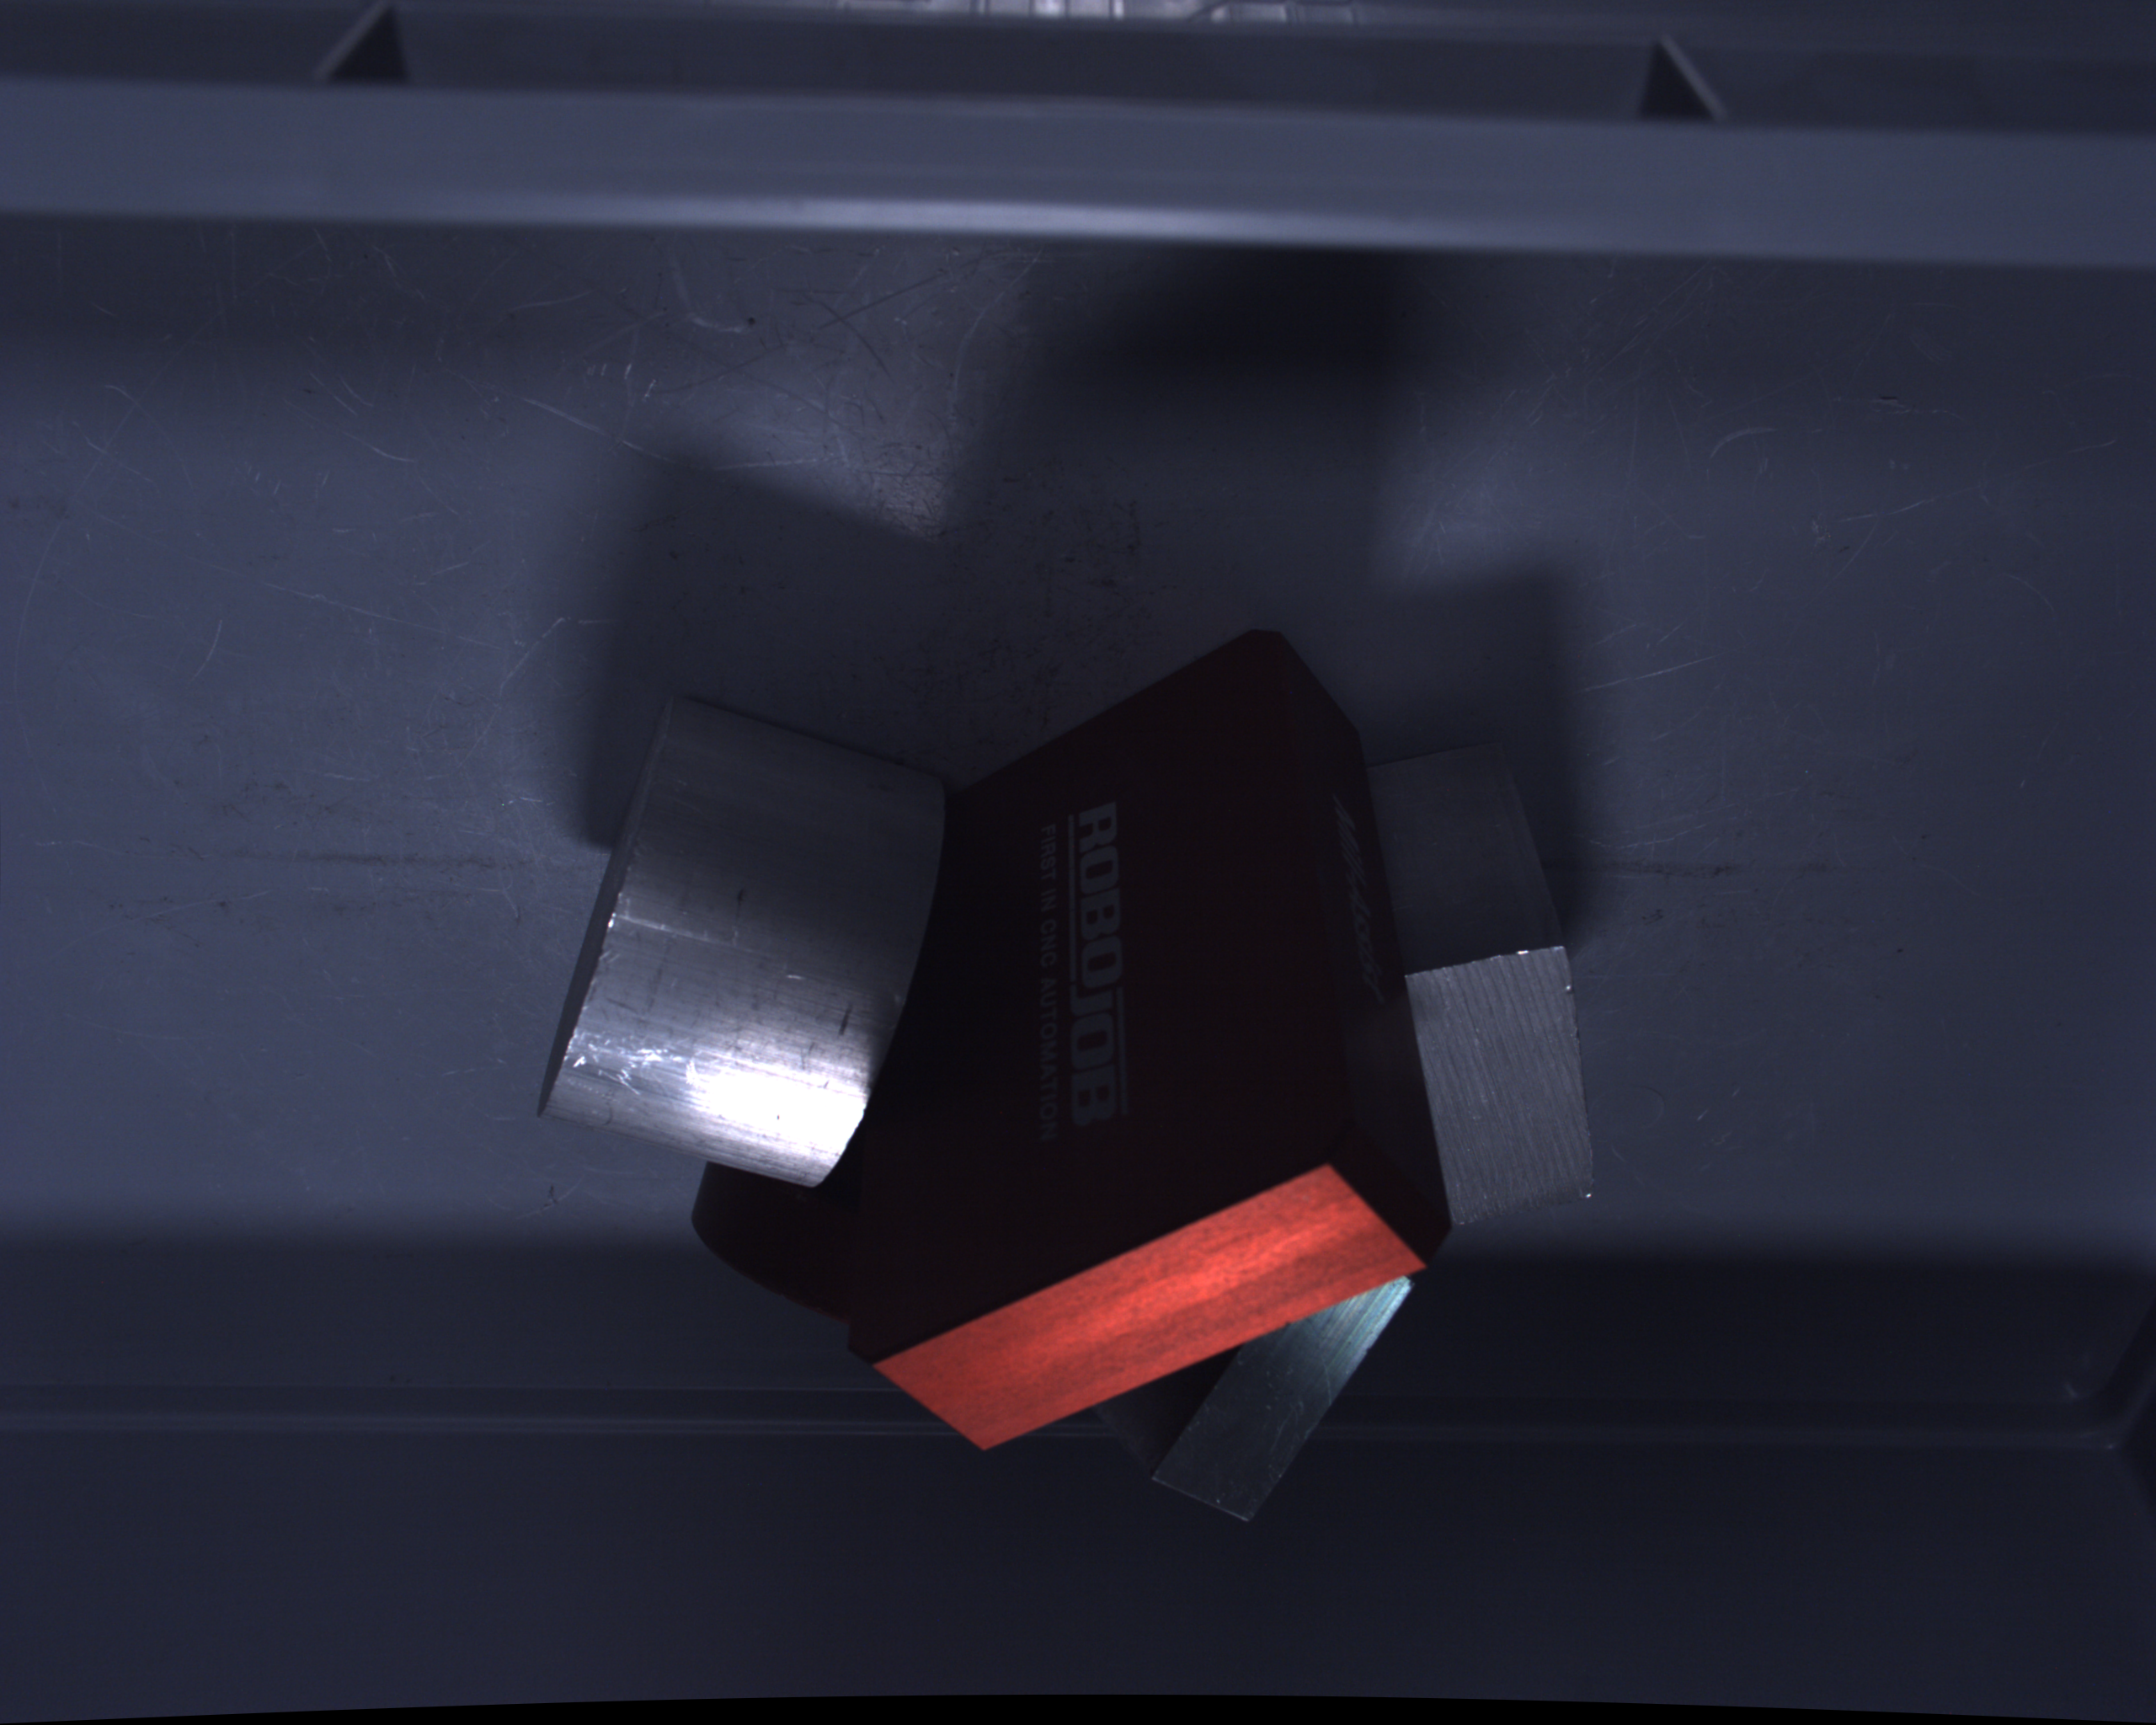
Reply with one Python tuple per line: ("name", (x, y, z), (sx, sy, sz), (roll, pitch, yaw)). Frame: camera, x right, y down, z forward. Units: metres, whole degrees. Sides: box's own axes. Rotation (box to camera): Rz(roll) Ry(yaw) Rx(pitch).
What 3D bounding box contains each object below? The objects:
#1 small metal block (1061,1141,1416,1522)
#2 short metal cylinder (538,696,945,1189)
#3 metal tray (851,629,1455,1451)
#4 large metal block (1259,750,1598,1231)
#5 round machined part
("small metal block", (0.023, 0.078, 0.368), (0.025, 0.050, 0.050), (35, 90, -34))
("short metal cylinder", (-0.062, 0.015, 0.382), (0.050, 0.080, 0.079), (18, 128, -15))
("metal tray", (0.009, 0.025, 0.359), (0.090, 0.130, 0.030), (-28, 126, 21))
("large metal block", (0.054, 0.031, 0.408), (0.080, 0.050, 0.080), (-11, 134, 9))
("round machined part", (-0.025, 0.065, 0.427), (0.099, 0.098, 0.042), (16, 93, -14))
